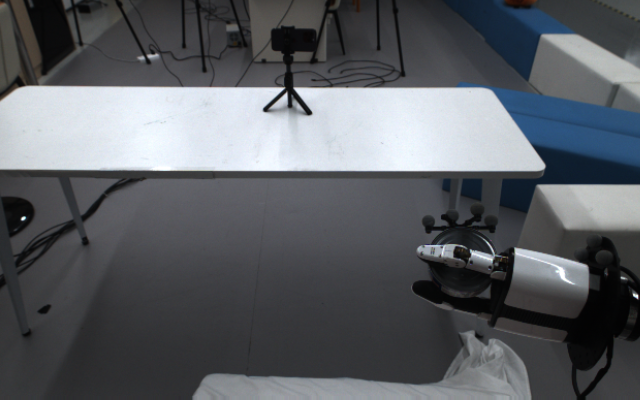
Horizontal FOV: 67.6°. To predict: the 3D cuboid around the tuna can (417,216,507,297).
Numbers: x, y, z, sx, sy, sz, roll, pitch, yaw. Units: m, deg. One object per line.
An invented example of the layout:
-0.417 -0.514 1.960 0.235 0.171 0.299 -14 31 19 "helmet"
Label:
0.180 0.077 0.614 0.085 0.034 0.085 -6 58 11 "tuna can"
